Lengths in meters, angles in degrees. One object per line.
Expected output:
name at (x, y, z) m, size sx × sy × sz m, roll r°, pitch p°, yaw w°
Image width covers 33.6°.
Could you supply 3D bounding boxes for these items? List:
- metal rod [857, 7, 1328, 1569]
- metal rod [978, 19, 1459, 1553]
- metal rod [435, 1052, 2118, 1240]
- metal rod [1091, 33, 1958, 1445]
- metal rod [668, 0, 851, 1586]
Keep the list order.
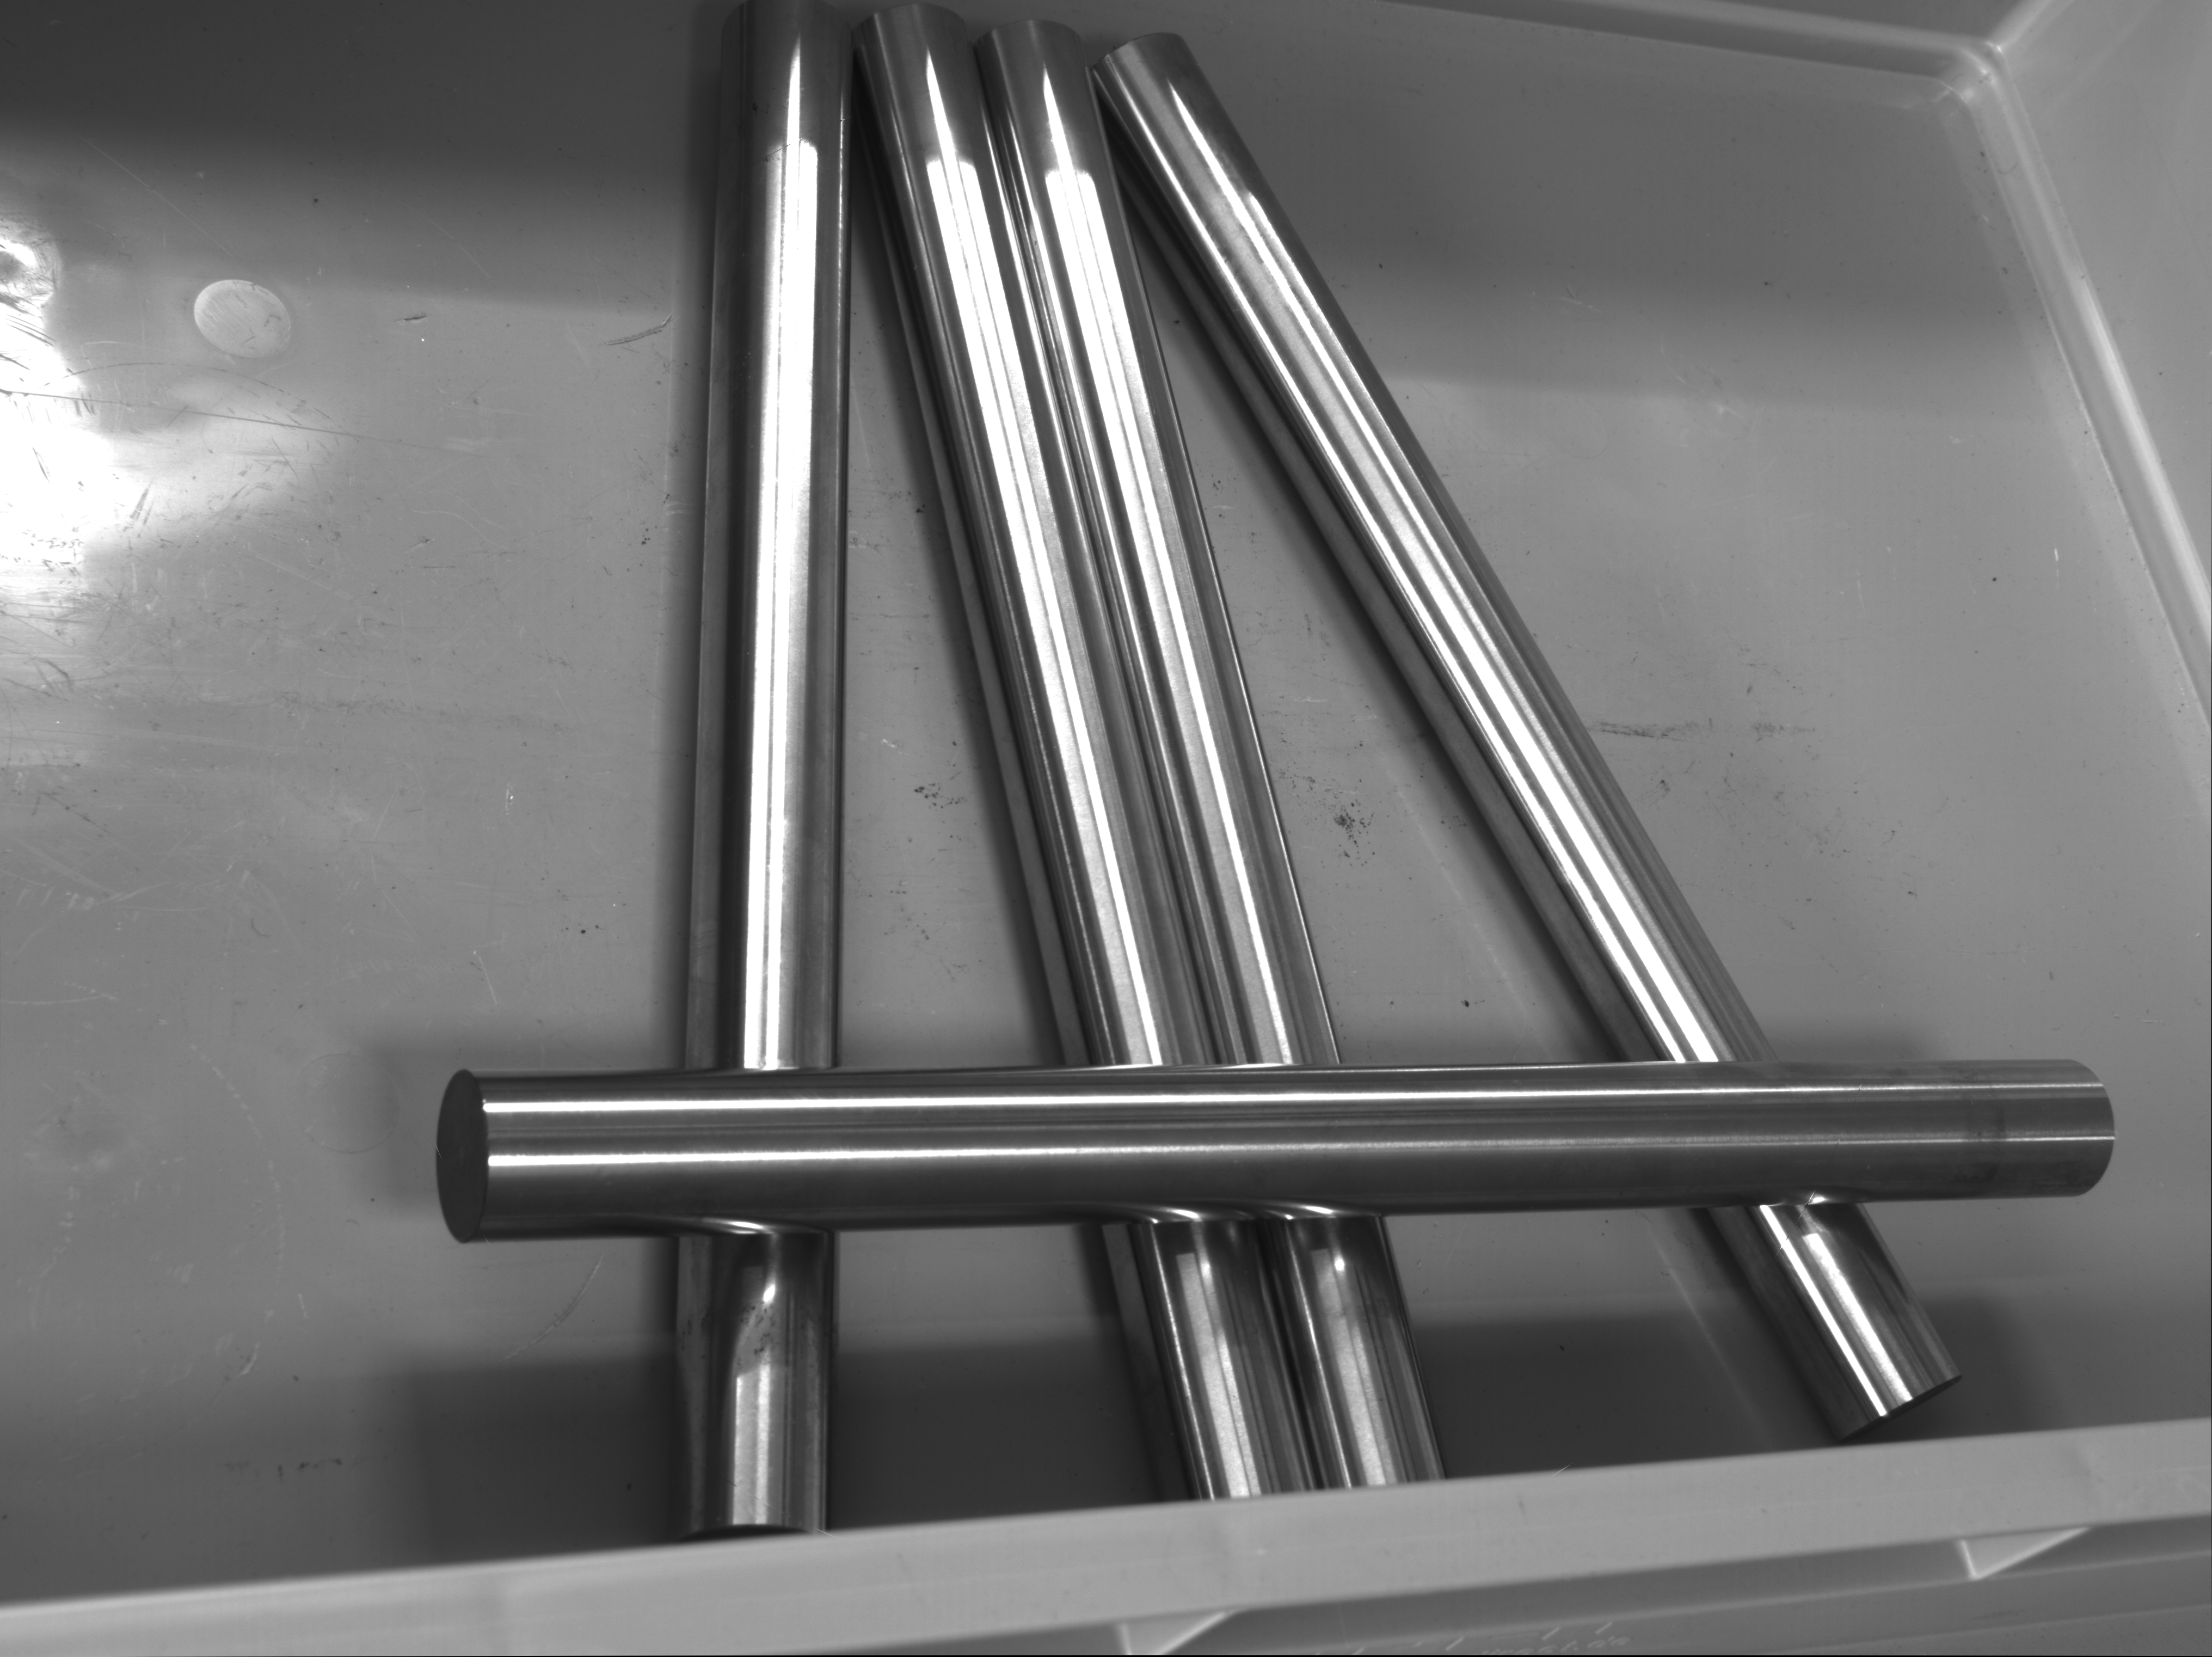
metal rod at (-0.008, -0.019, 0.645) m, size 0.025 × 0.025 × 0.300 m, roll 1°, pitch 61°, yaw -27°
metal rod at (0.014, -0.019, 0.657) m, size 0.025 × 0.025 × 0.300 m, roll 1°, pitch 61°, yaw -28°
metal rod at (0.041, 0.050, 0.596) m, size 0.301 × 0.025 × 0.025 m, roll 1°, pitch 61°, yaw -27°
metal rod at (0.072, -0.024, 0.691) m, size 0.025 × 0.025 × 0.300 m, roll -17°, pitch 70°, yaw -34°
metal rod at (-0.057, -0.021, 0.620) m, size 0.025 × 0.025 × 0.300 m, roll 12°, pitch 57°, yaw -22°
